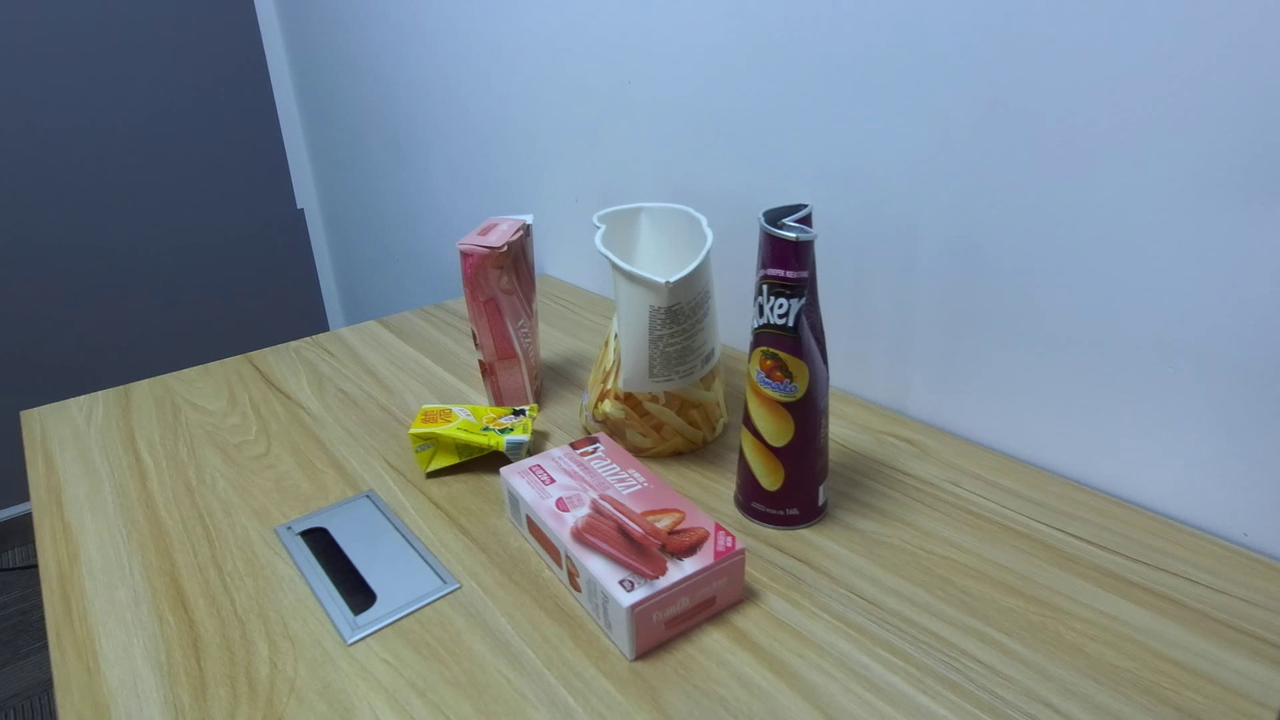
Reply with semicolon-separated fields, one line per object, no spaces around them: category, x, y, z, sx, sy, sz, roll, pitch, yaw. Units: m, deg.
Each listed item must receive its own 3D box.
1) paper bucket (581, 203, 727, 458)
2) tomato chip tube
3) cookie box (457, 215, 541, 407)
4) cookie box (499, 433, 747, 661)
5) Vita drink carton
paper bucket;0.011;-0.029;0.658;0.148;0.199;0.217;-19;29;-32
tomato chip tube;0.113;0.009;0.530;0.078;0.235;0.076;-15;28;-27
cookie box;-0.134;-0.044;0.721;0.055;0.184;0.118;0;25;3
cookie box;-0.019;0.123;0.518;0.096;0.048;0.183;-18;30;-30
Vita drink carton;-0.149;0.070;0.650;0.108;0.042;0.087;0;18;-5
